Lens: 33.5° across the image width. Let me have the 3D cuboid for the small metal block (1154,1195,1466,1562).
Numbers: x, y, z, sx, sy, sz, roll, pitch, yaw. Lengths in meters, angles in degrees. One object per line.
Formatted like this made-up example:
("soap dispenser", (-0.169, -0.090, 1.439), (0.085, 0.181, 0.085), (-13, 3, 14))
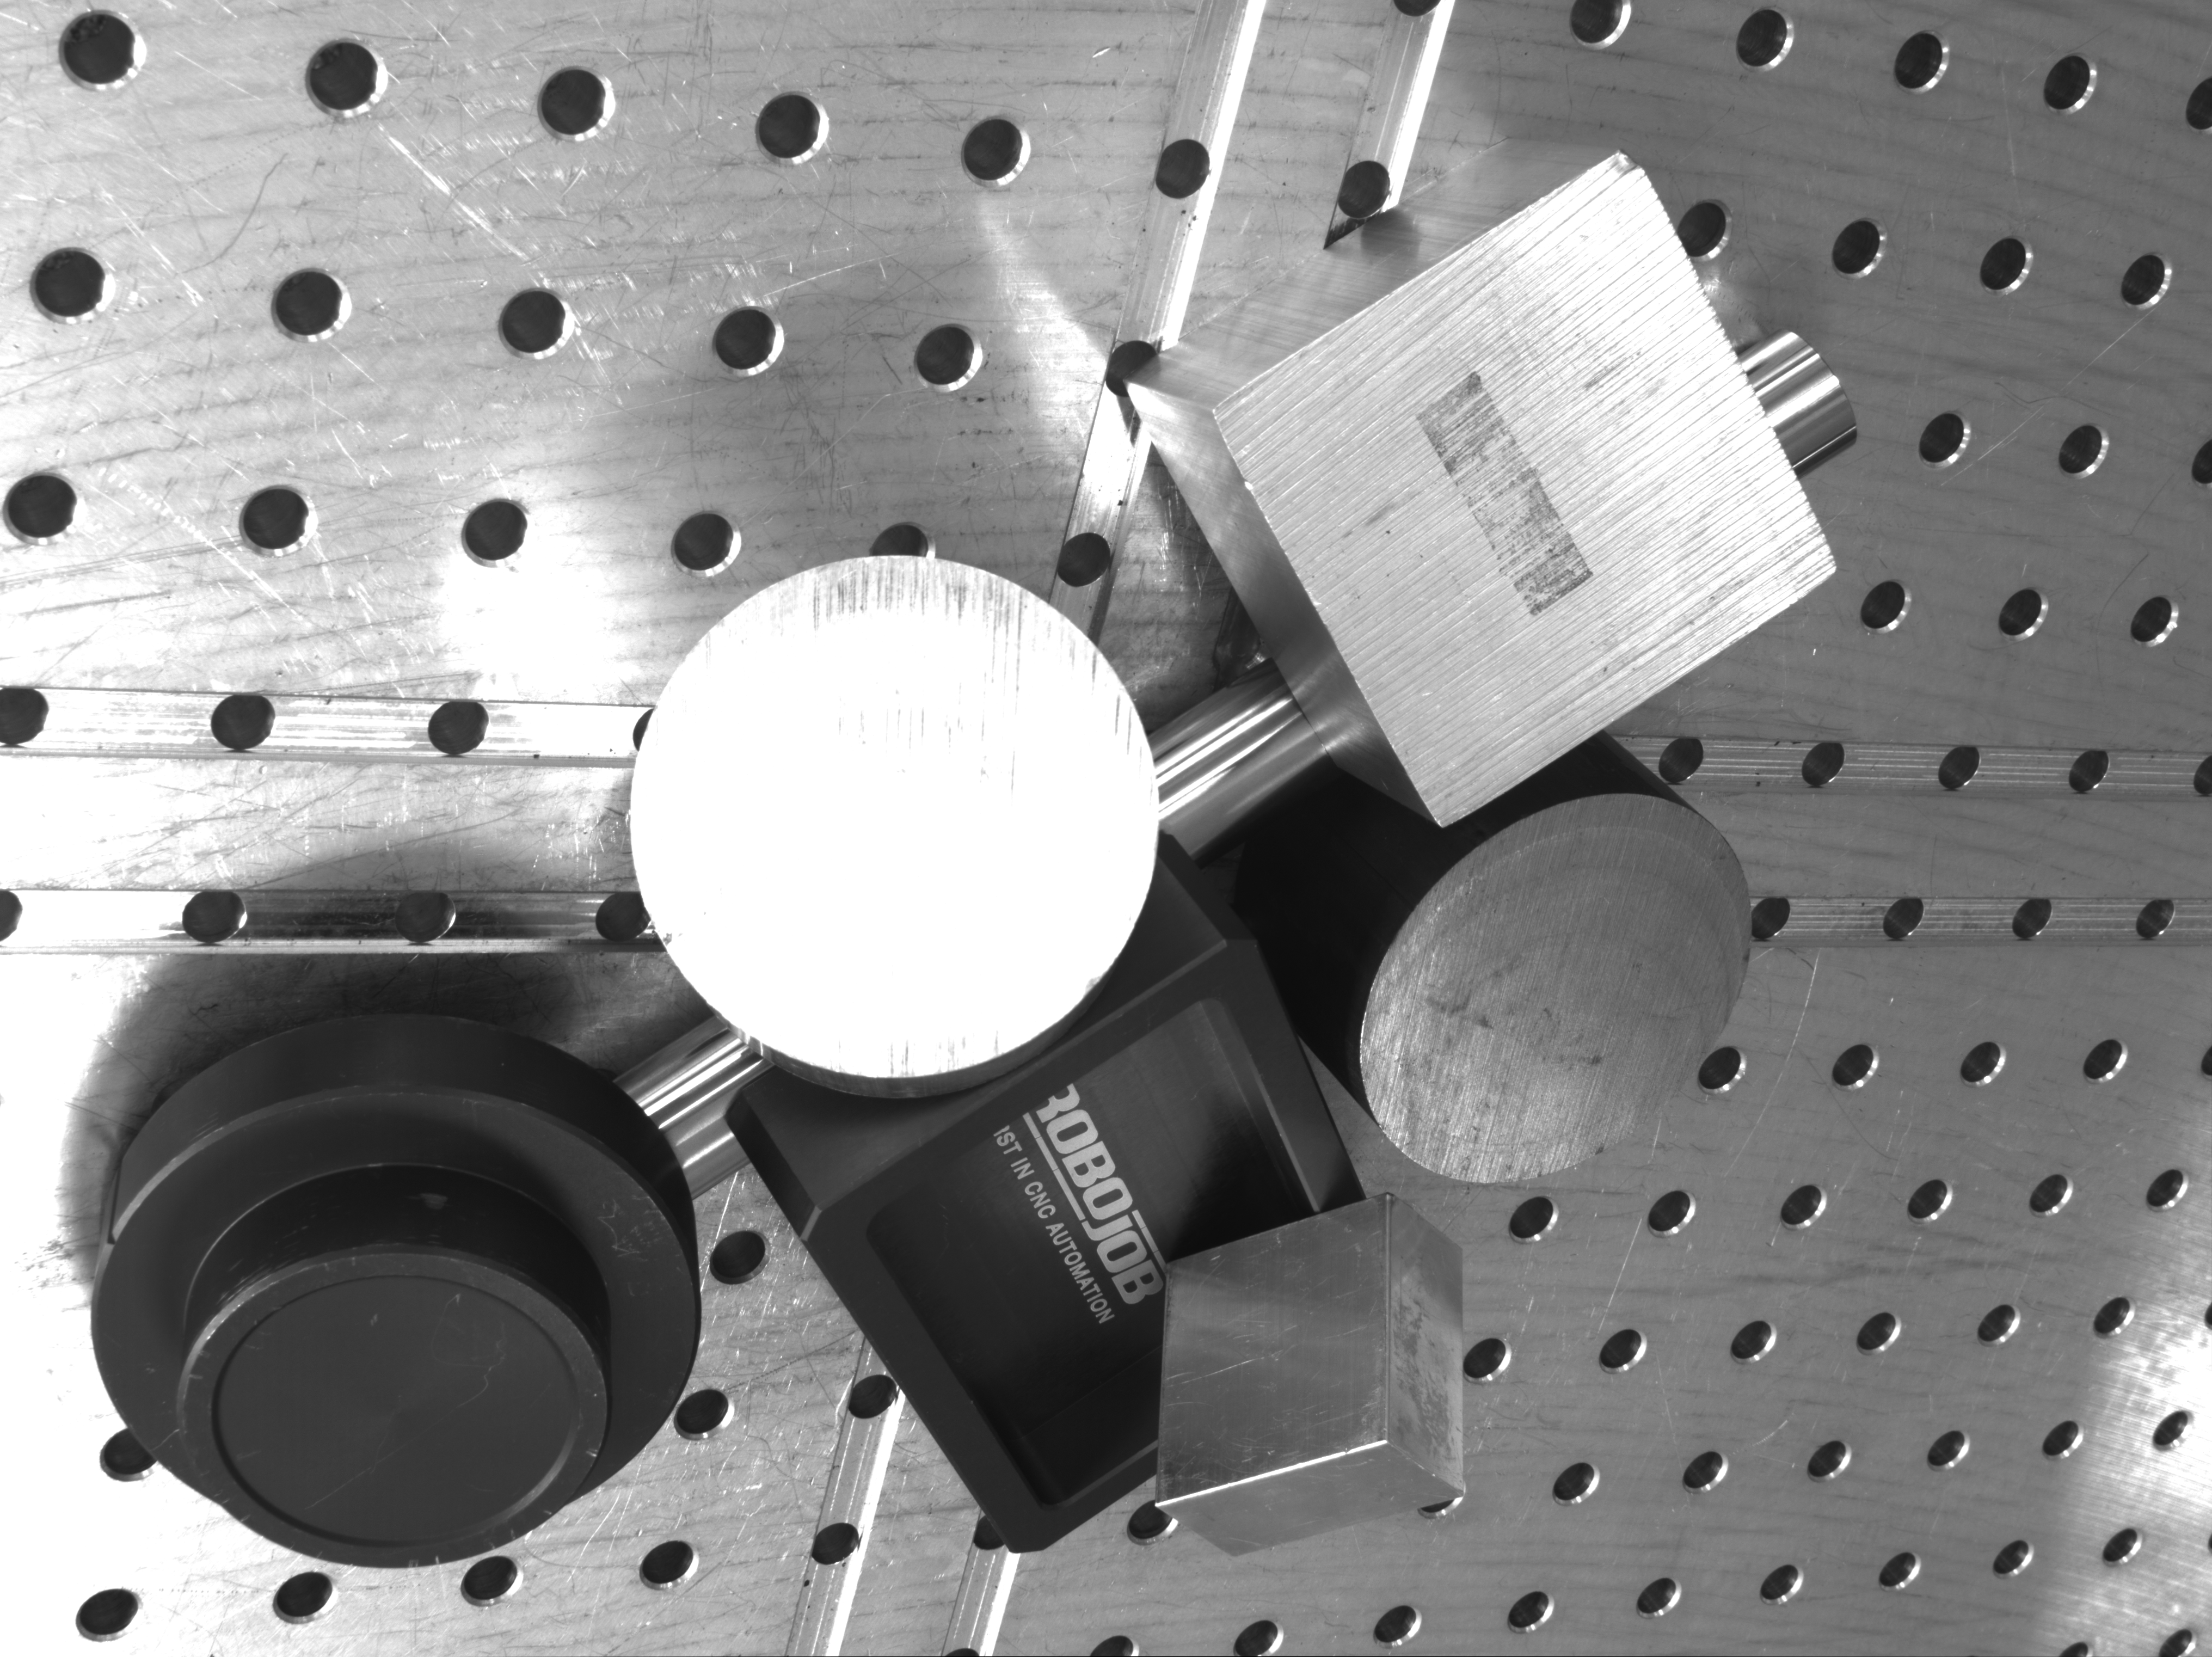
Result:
("small metal block", (0.037, 0.100, 0.668), (0.050, 0.050, 0.025), (-21, 139, 30))

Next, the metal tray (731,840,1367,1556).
("metal tray", (-0.003, 0.070, 0.660), (0.090, 0.030, 0.130), (-33, 141, -7))

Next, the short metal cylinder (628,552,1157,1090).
("short metal cylinder", (-0.033, 0.001, 0.581), (0.080, 0.050, 0.080), (0, 82, -3))

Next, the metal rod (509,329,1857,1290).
("metal rod", (0.002, 0.001, 0.645), (0.300, 0.025, 0.025), (-33, 128, -6))

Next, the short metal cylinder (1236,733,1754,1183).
("short metal cylinder", (0.071, 0.018, 0.673), (0.080, 0.050, 0.080), (-13, 124, -21))

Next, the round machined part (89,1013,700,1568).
("round machined part", (-0.116, 0.082, 0.601), (0.098, 0.042, 0.098), (-5, 123, -7))

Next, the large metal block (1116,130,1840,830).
("large metal block", (0.061, -0.059, 0.607), (0.080, 0.050, 0.080), (-32, 109, -7))
